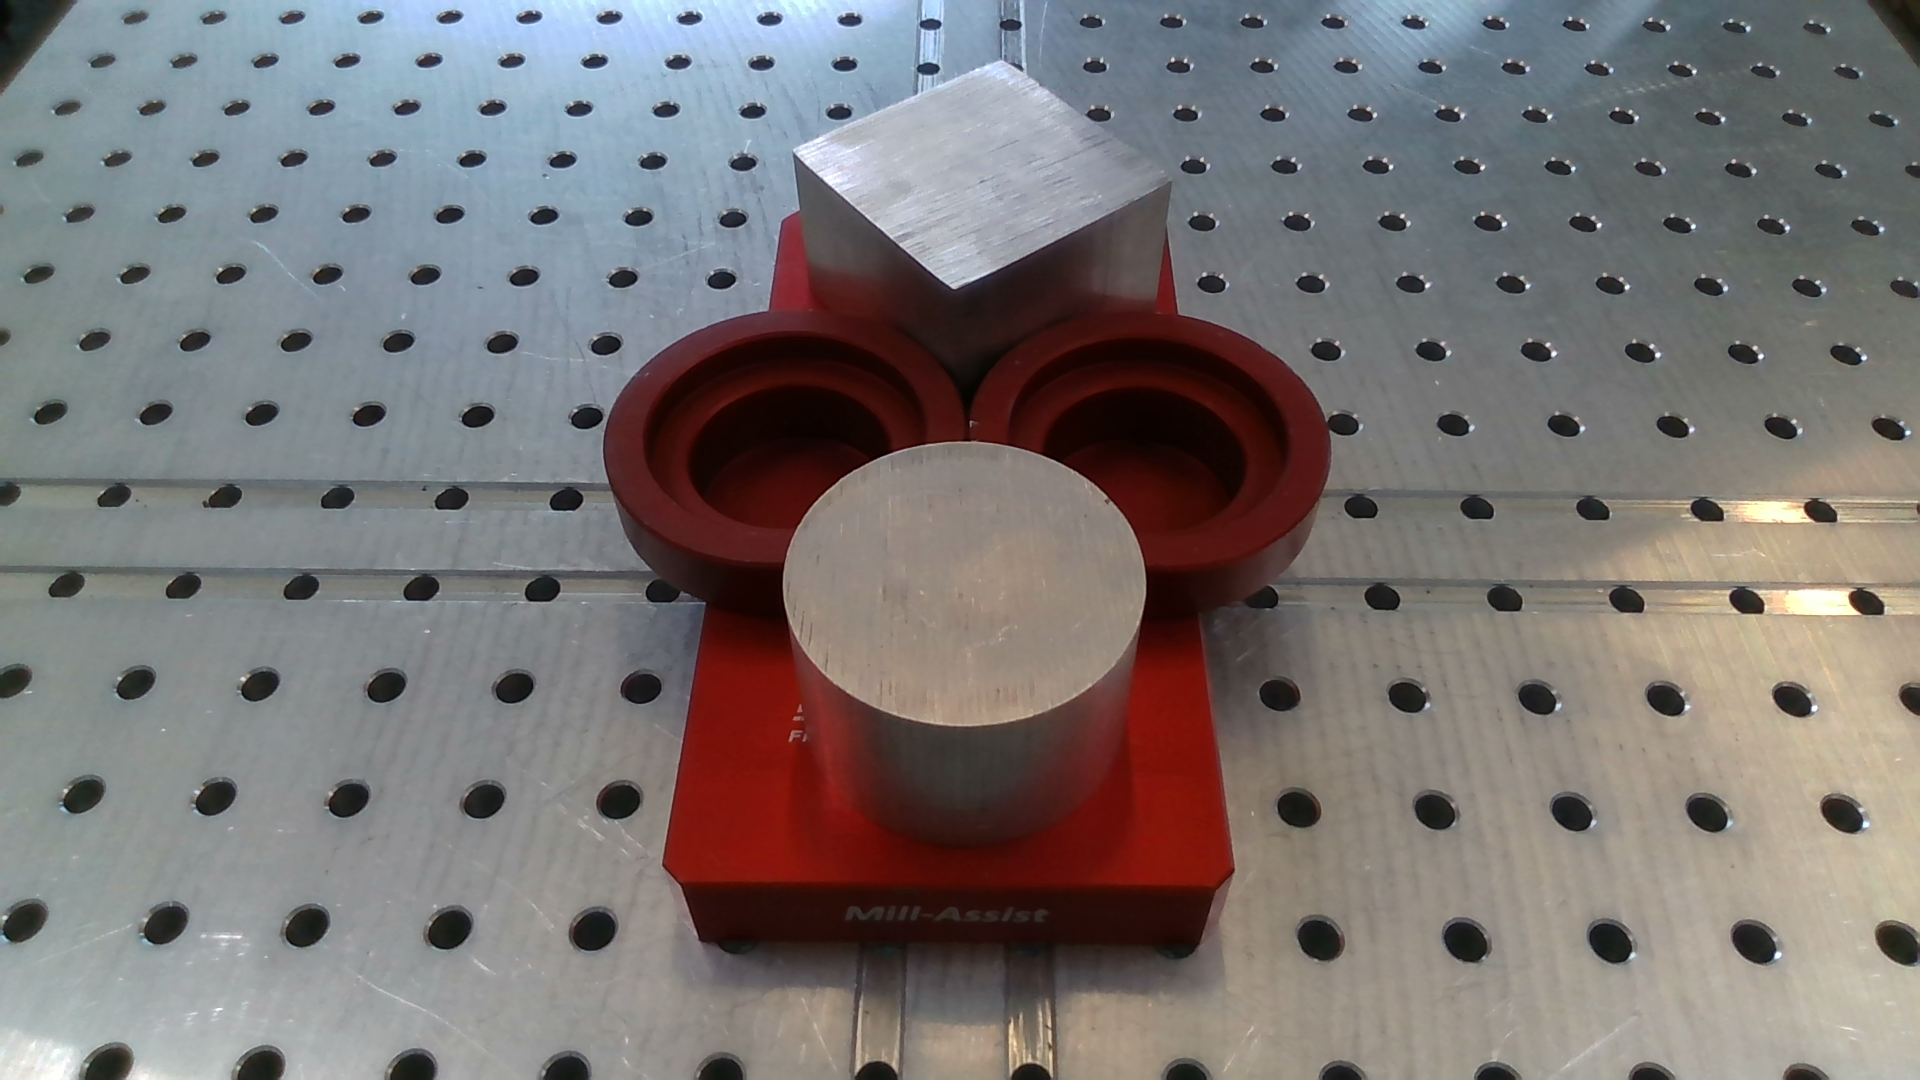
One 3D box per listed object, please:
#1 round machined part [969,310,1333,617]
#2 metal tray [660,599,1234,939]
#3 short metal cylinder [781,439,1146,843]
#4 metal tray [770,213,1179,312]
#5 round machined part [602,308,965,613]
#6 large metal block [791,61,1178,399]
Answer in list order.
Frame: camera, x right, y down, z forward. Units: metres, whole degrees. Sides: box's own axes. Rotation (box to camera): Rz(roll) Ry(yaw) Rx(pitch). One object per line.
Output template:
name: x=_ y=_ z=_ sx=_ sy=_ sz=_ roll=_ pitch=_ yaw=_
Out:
round machined part: x=0.051 y=-0.017 z=0.388 sx=0.098 sy=0.042 sz=0.098 roll=0 pitch=50 yaw=0
metal tray: x=-0.003 y=0.052 z=0.348 sx=0.130 sy=0.030 sz=0.090 roll=0 pitch=50 yaw=0
short metal cylinder: x=0.001 y=0.023 z=0.321 sx=0.080 sy=0.050 sz=0.080 roll=0 pitch=50 yaw=0
metal tray: x=0.004 y=-0.068 z=0.450 sx=0.130 sy=0.030 sz=0.090 roll=0 pitch=51 yaw=0
round machined part: x=-0.048 y=-0.018 z=0.389 sx=0.098 sy=0.042 sz=0.098 roll=0 pitch=50 yaw=0
large metal block: x=0.006 y=-0.093 z=0.419 sx=0.080 sy=0.050 sz=0.080 roll=-30 pitch=56 yaw=-23
